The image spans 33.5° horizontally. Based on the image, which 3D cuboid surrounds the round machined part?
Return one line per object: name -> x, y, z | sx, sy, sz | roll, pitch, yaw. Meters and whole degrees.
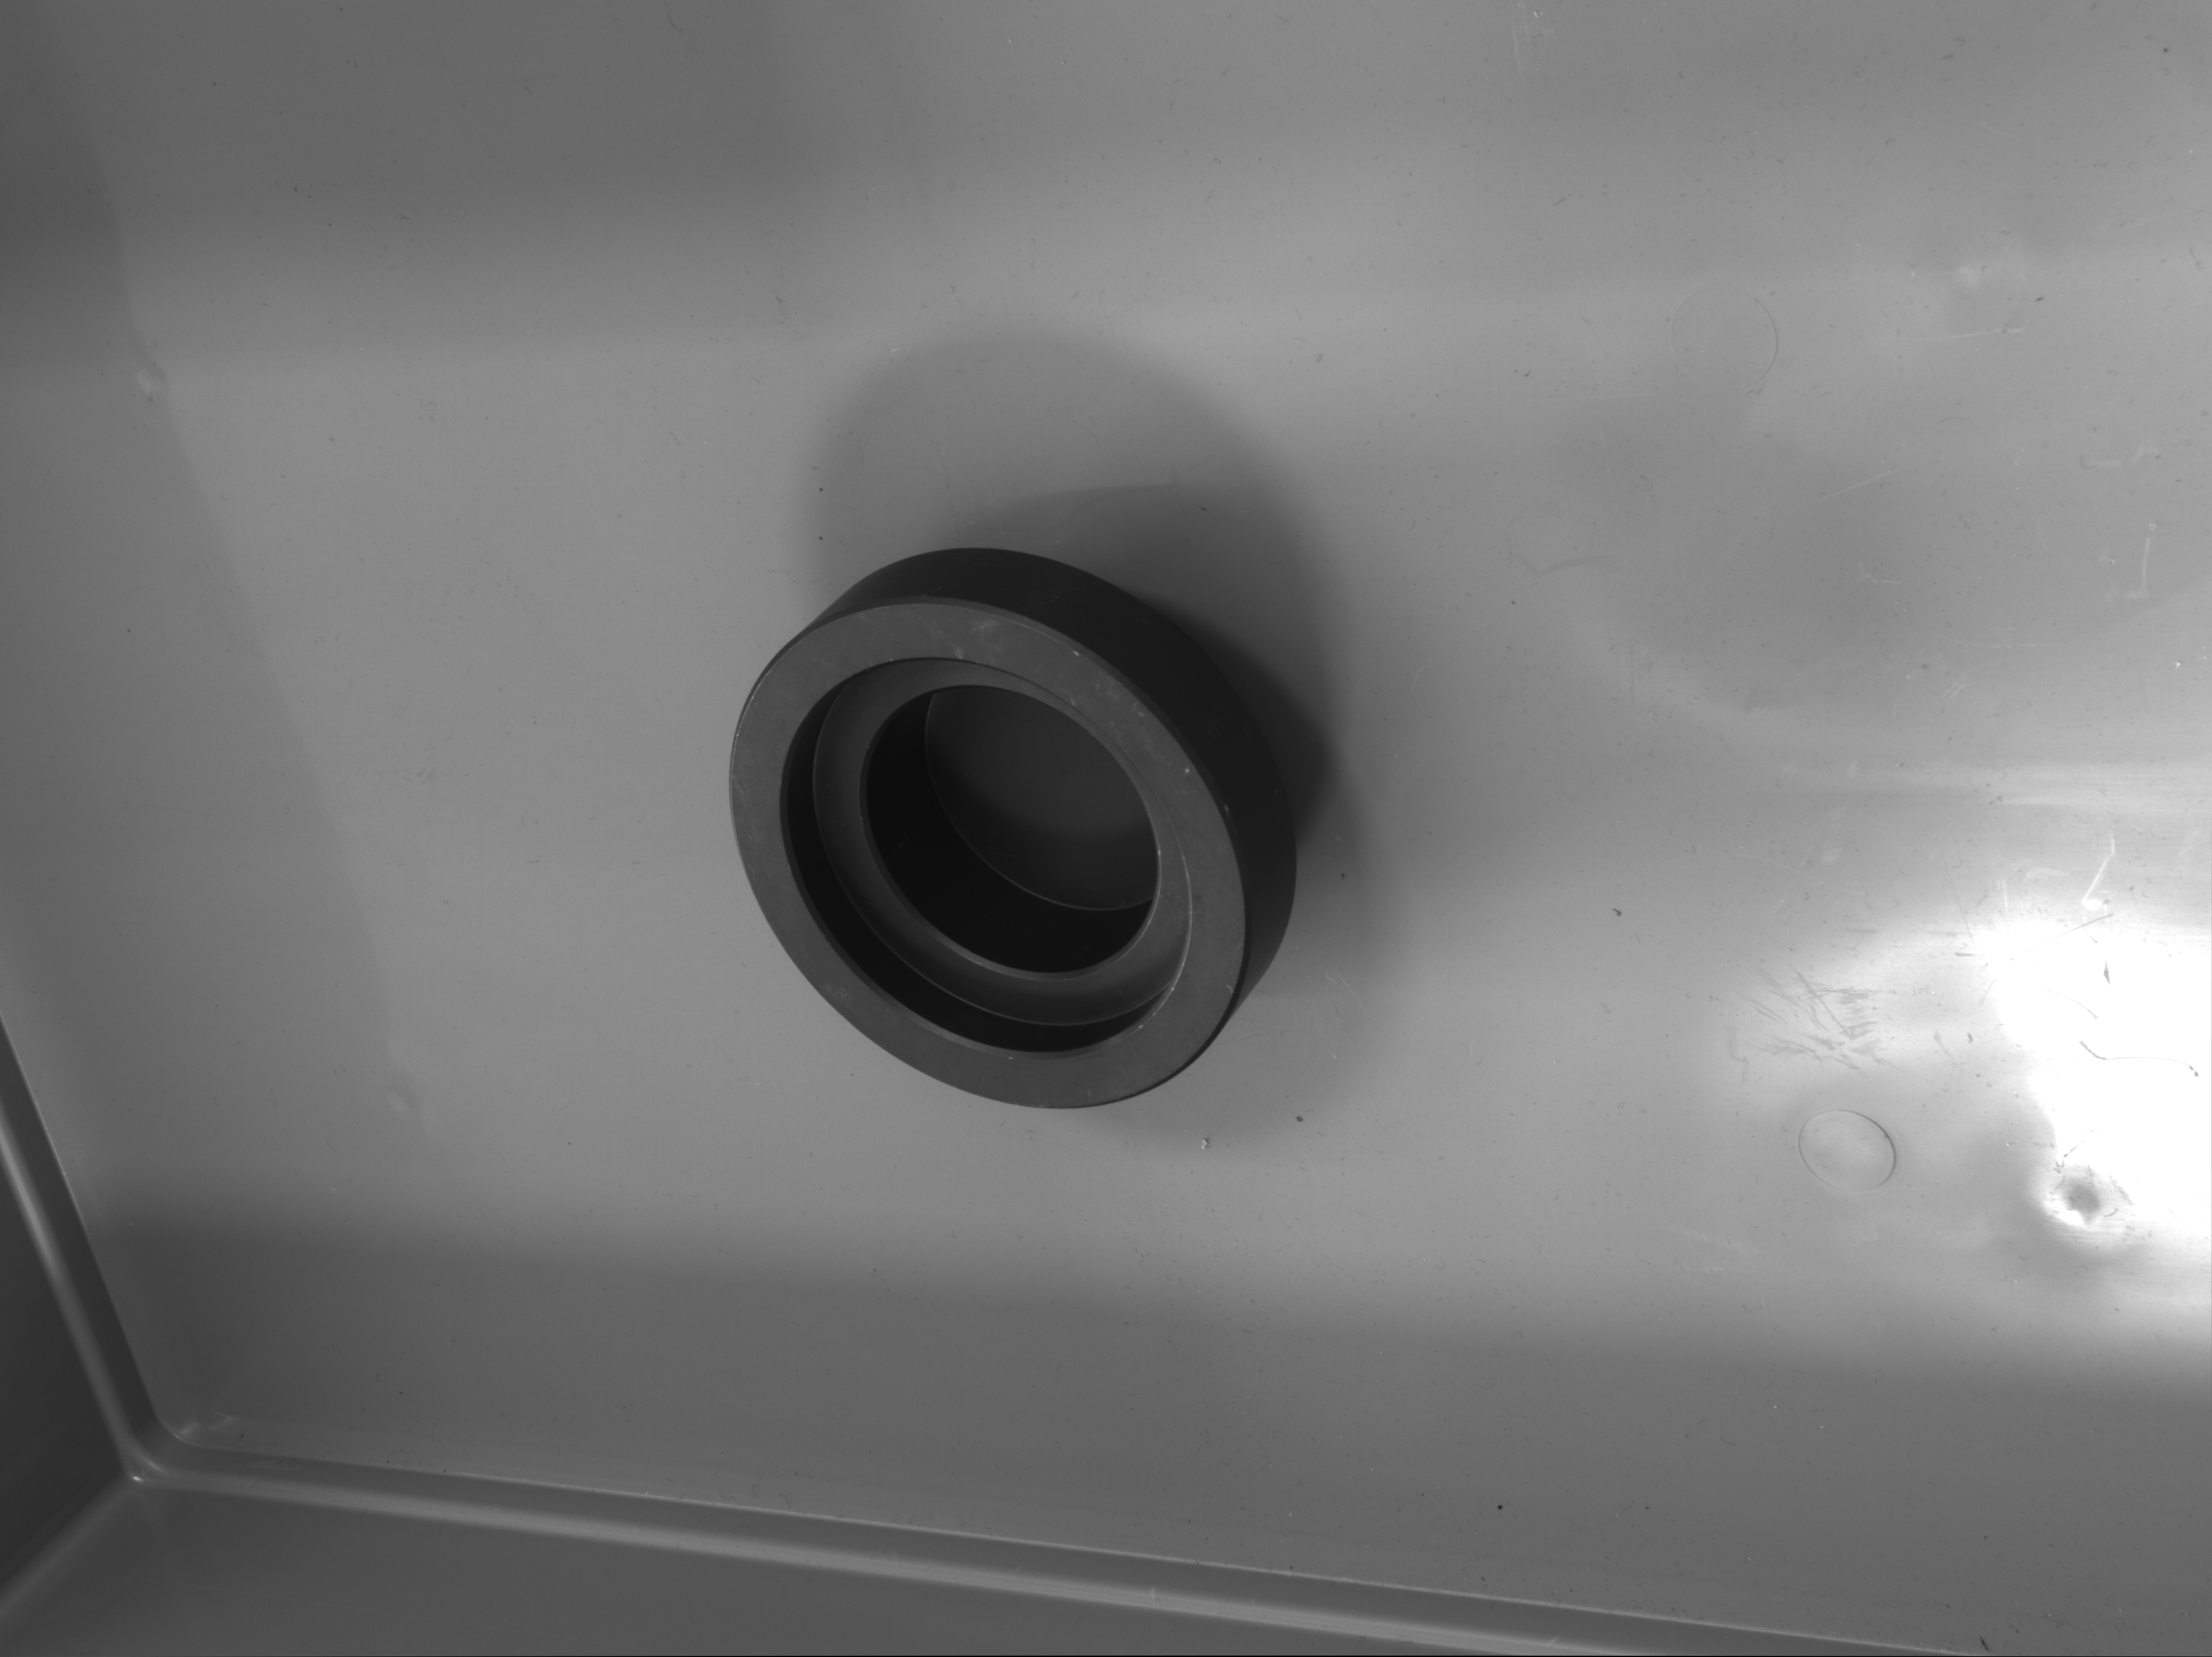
round machined part -> -0.012, -0.004, 0.633 | 0.098, 0.042, 0.098 | 13, 124, 21
